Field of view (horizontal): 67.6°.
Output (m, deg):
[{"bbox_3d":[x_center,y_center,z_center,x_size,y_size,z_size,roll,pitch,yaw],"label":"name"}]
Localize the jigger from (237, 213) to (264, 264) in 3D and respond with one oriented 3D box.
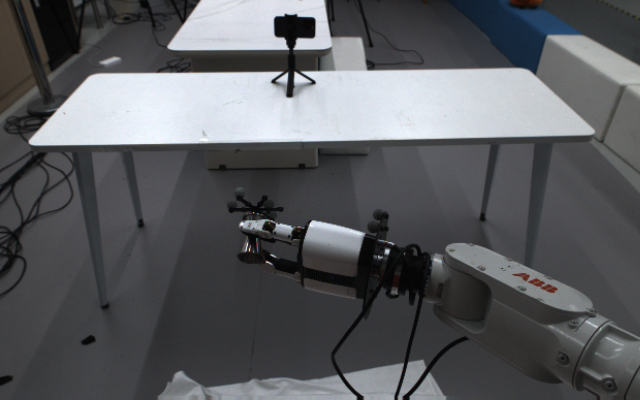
[{"bbox_3d":[-0.104,0.056,0.743,0.043,0.043,0.071,2,59,0],"label":"jigger"}]
